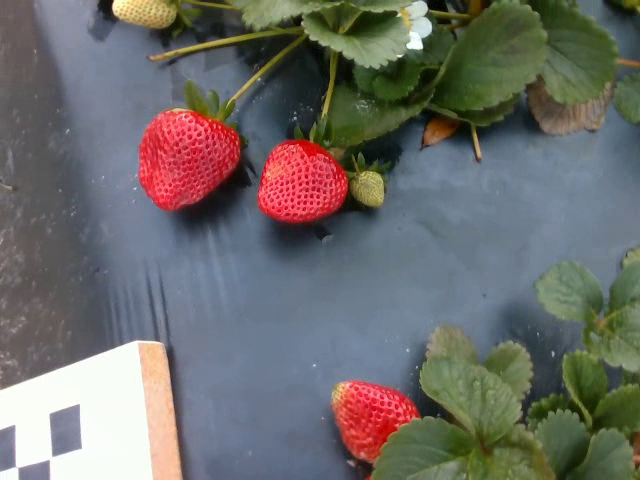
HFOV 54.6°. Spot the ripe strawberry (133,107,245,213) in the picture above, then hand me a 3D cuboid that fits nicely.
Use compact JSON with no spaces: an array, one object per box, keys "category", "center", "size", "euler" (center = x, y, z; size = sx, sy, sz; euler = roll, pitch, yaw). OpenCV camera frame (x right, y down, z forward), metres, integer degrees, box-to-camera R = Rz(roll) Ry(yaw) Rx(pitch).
[{"category":"ripe strawberry","center":[-0.079,-0.043,0.341],"size":[0.058,0.065,0.043],"euler":[8,-22,37]}]

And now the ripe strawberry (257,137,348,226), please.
[{"category":"ripe strawberry","center":[-0.015,-0.029,0.331],"size":[0.050,0.051,0.060],"euler":[2,33,36]}]

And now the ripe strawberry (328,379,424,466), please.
[{"category":"ripe strawberry","center":[0.022,0.081,0.288],"size":[0.053,0.047,0.039],"euler":[42,21,-3]}]
